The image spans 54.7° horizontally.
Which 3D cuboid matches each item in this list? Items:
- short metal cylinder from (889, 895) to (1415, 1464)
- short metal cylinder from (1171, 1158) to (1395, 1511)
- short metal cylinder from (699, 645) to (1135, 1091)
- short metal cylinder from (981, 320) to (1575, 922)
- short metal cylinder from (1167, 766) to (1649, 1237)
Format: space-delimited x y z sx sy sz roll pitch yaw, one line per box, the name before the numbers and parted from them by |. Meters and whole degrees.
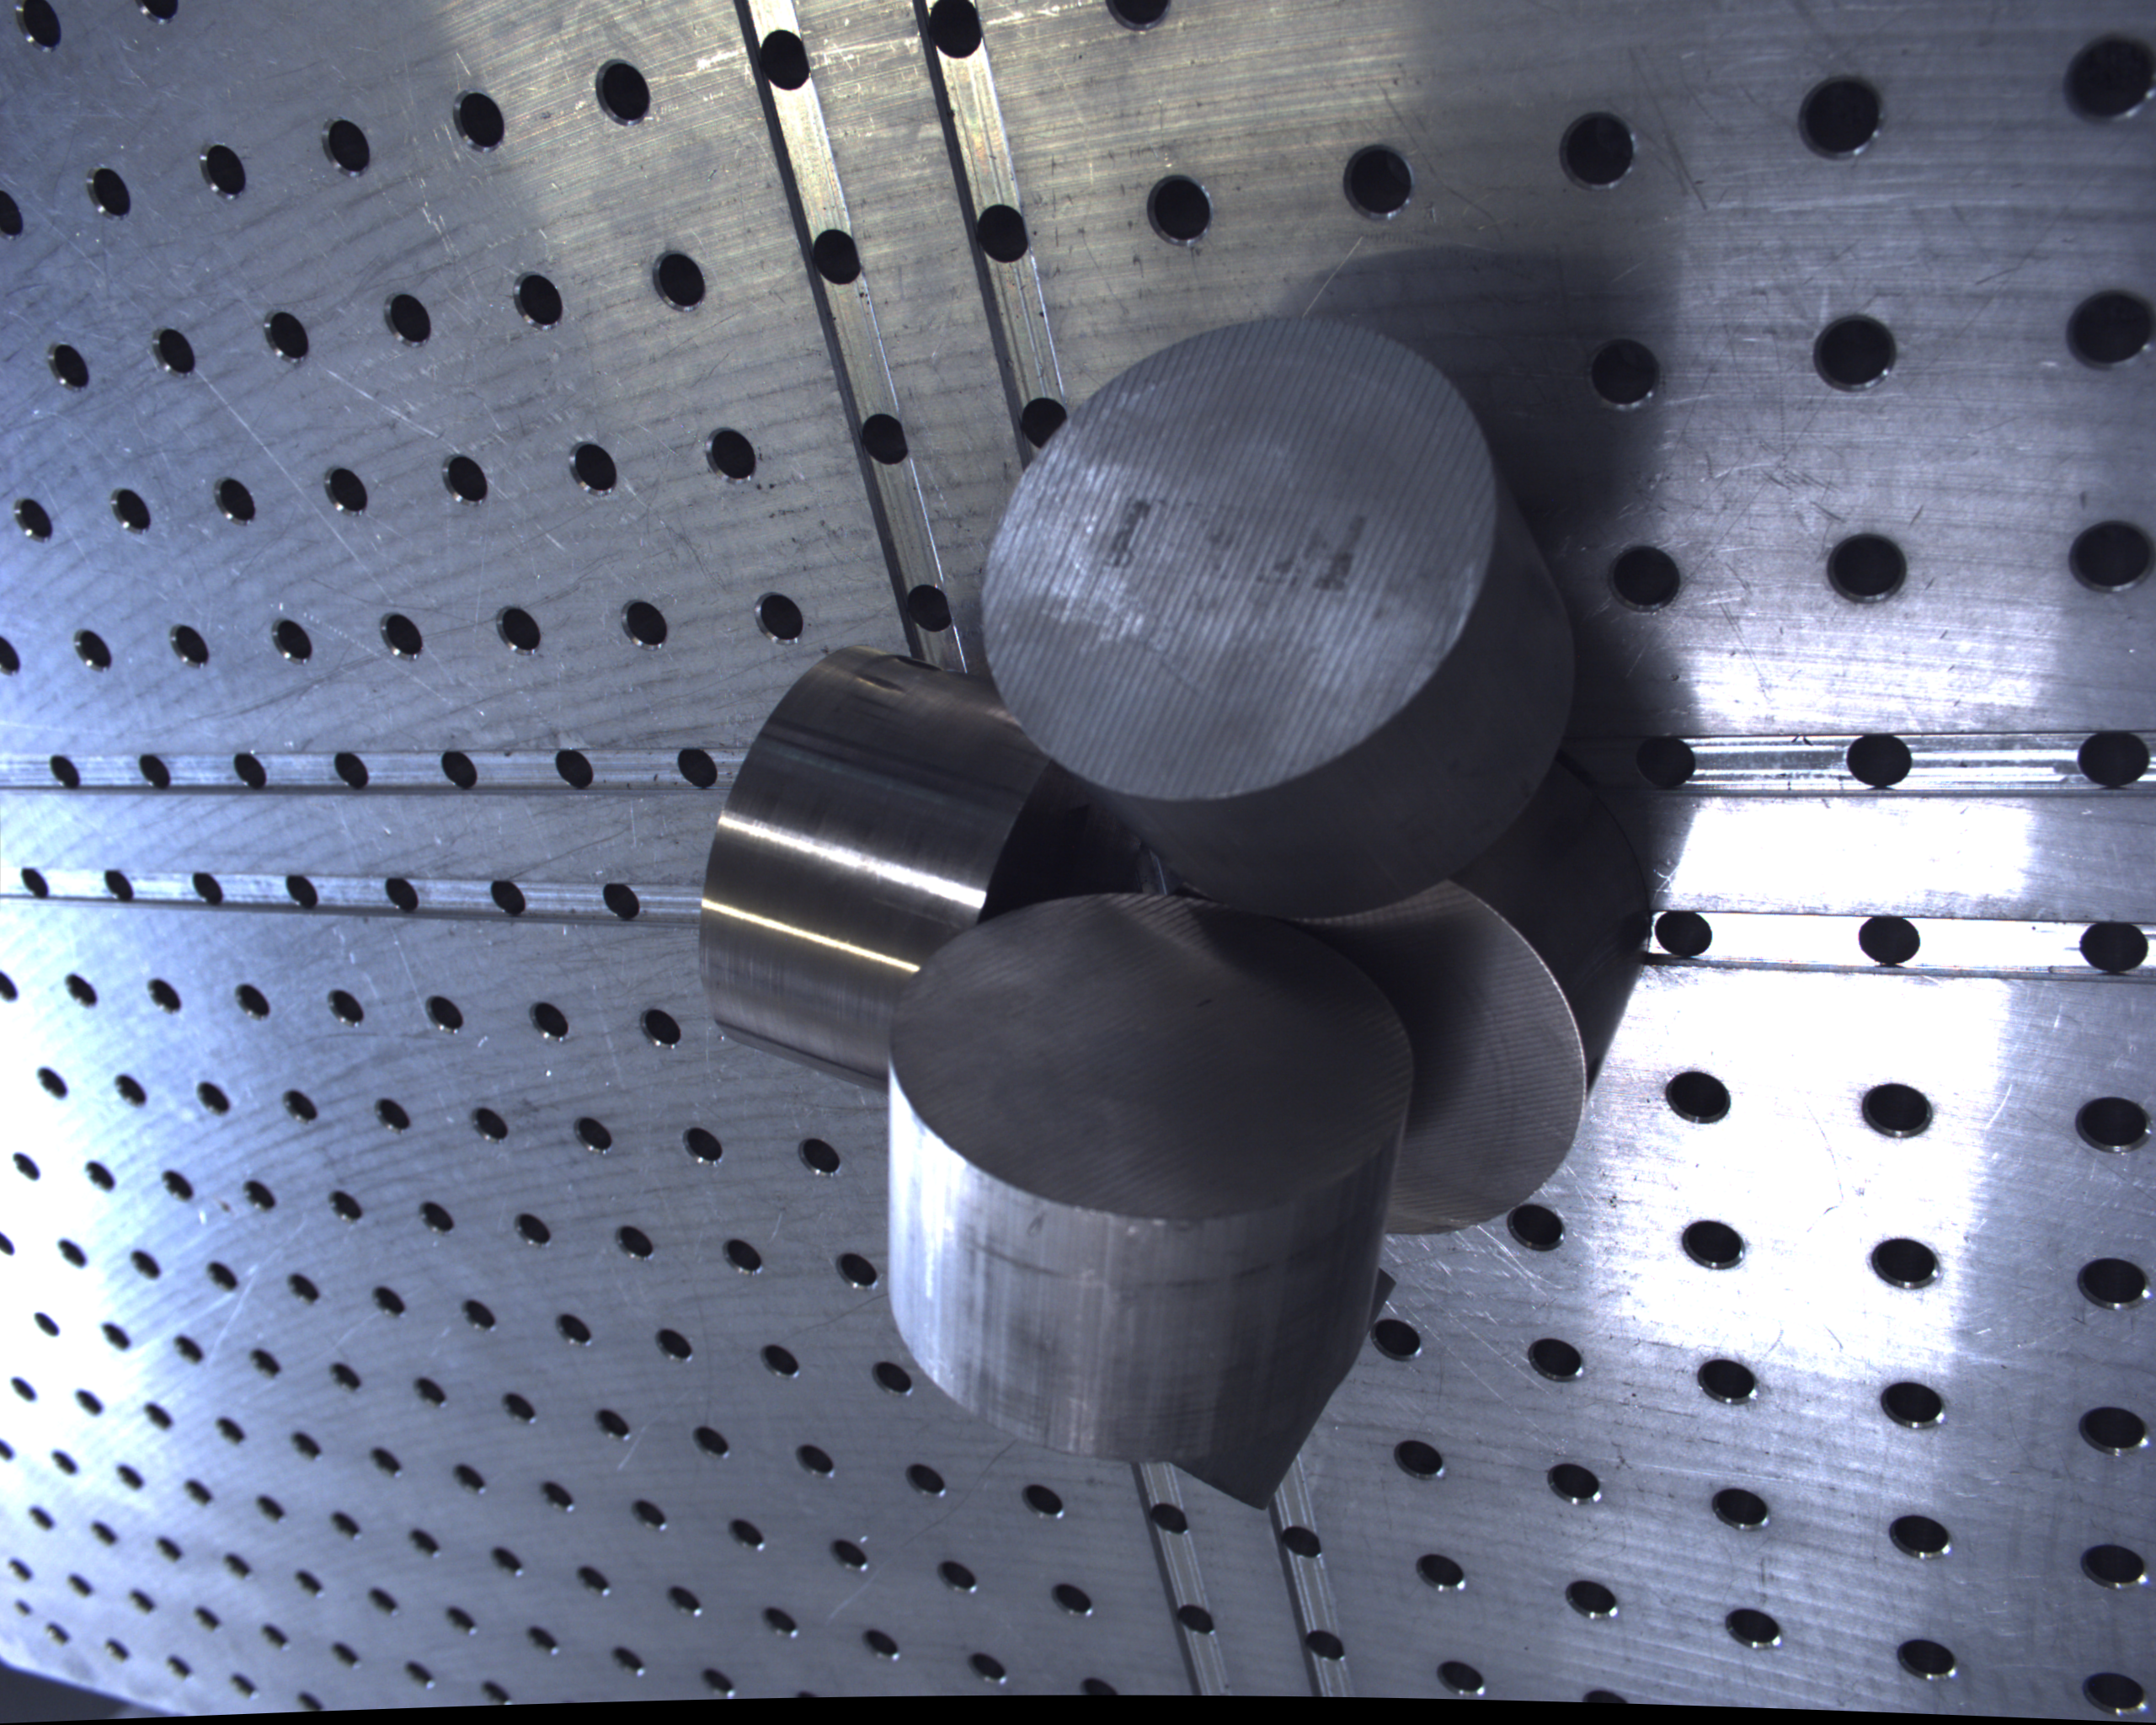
short metal cylinder | 0.010 0.048 0.334 0.080 0.080 0.050 16 125 19
short metal cylinder | 0.015 0.084 0.412 0.080 0.050 0.080 31 171 6
short metal cylinder | -0.027 0.004 0.392 0.050 0.080 0.079 17 125 18
short metal cylinder | 0.032 -0.037 0.327 0.080 0.080 0.050 2 159 27
short metal cylinder | 0.057 0.020 0.376 0.080 0.050 0.079 13 123 21
